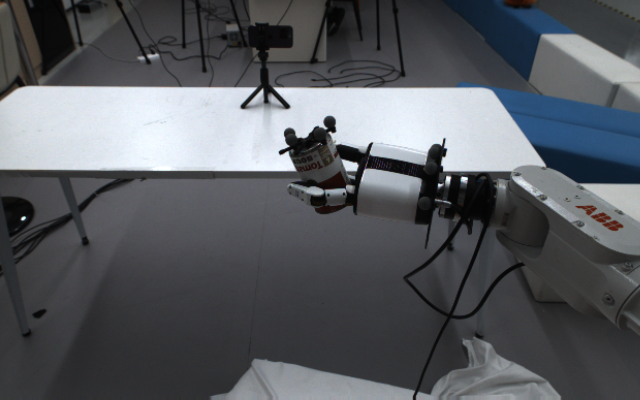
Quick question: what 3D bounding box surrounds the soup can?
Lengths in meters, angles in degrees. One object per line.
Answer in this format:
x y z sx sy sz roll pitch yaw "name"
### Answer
0.006 -0.039 0.712 0.067 0.101 0.067 -21 24 10 "soup can"
